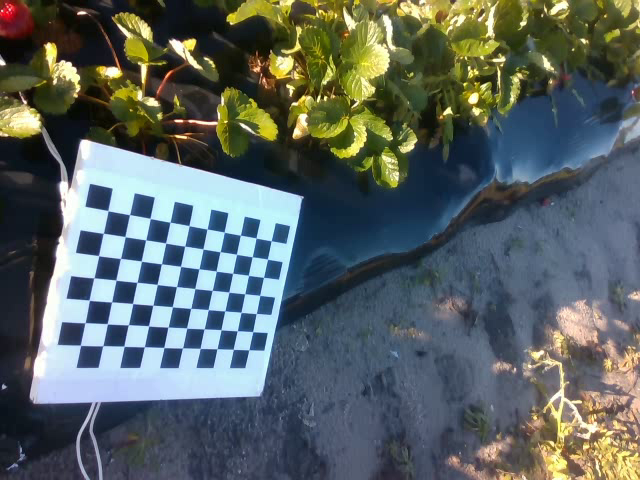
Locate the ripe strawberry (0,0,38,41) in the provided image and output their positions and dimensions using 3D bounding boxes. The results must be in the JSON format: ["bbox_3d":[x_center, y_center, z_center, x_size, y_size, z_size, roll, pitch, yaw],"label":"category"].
[{"bbox_3d":[-0.386,-0.279,0.752,0.040,0.080,0.063,-26,-50,21],"label":"ripe strawberry"}]
